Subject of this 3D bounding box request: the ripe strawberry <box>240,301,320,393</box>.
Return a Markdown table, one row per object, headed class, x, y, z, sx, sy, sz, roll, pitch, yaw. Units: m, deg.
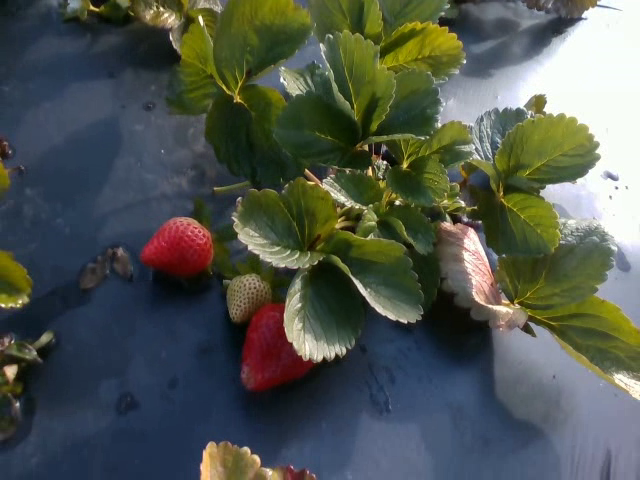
| class | x | y | z | sx | sy | sz | roll | pitch | yaw |
| --- | --- | --- | --- | --- | --- | --- | --- | --- | --- |
| ripe strawberry | -0.030 | 0.066 | 0.362 | 0.049 | 0.065 | 0.050 | 5 | -40 | 48 |
